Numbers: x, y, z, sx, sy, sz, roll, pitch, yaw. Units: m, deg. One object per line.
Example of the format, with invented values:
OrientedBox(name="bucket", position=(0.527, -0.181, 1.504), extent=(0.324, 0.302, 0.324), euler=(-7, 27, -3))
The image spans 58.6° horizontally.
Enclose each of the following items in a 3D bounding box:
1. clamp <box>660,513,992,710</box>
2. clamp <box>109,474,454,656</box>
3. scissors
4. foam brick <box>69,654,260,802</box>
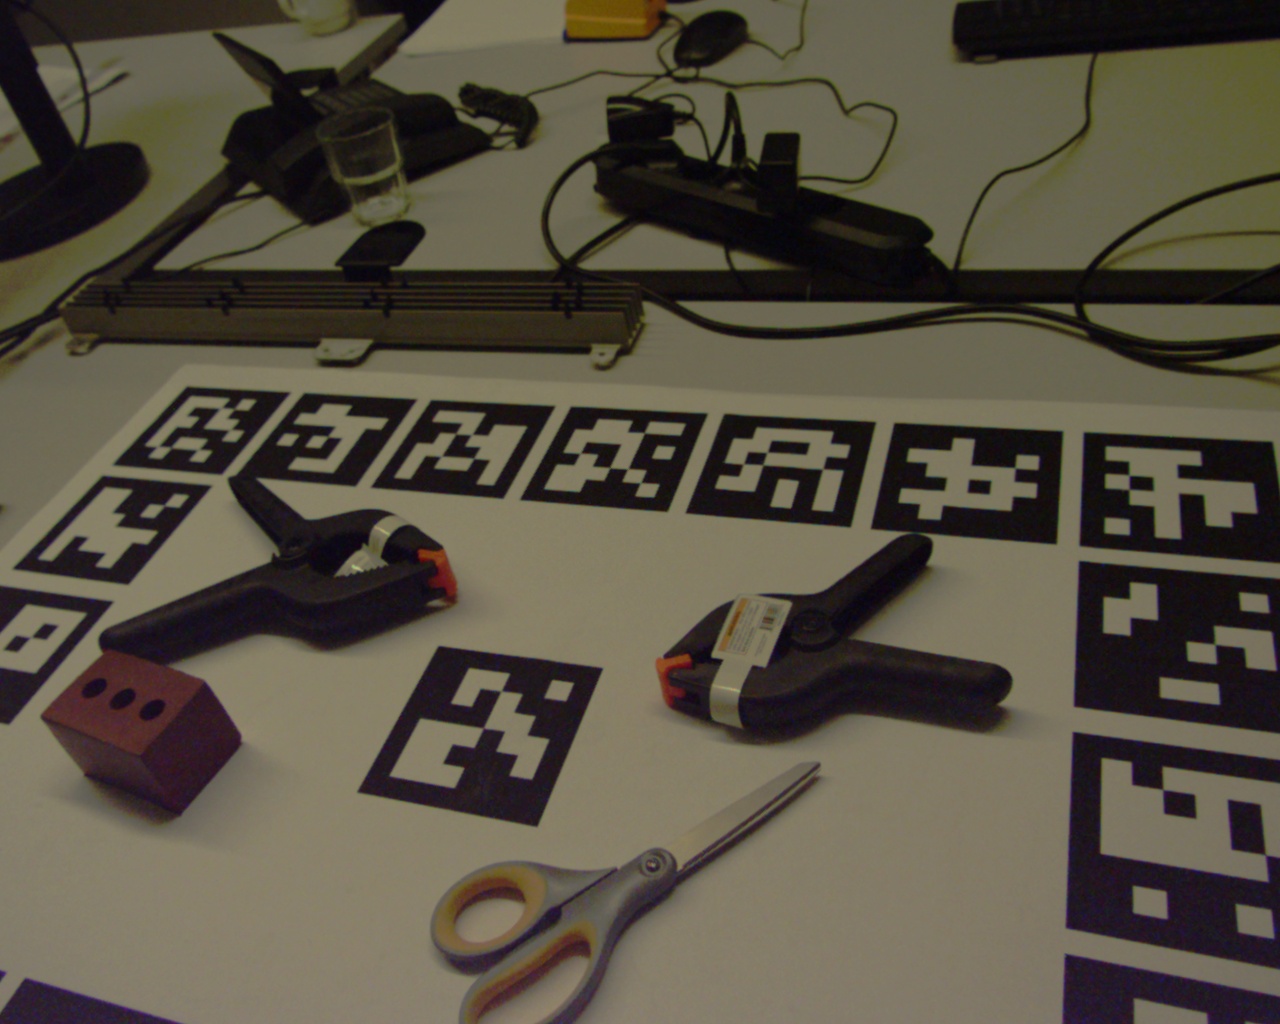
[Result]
OrientedBox(name="clamp", position=(0.092, 0.065, 0.629), extent=(0.165, 0.036, 0.123), euler=(-16, 49, -1))
OrientedBox(name="clamp", position=(-0.217, 0.034, 0.739), extent=(0.204, 0.036, 0.165), euler=(1, 41, 15))
OrientedBox(name="scissors", position=(-0.006, 0.162, 0.553), extent=(0.201, 0.016, 0.089), euler=(-30, 52, -20))
OrientedBox(name="foam brick", position=(-0.270, 0.122, 0.649), extent=(0.079, 0.051, 0.052), euler=(7, 47, 27))
